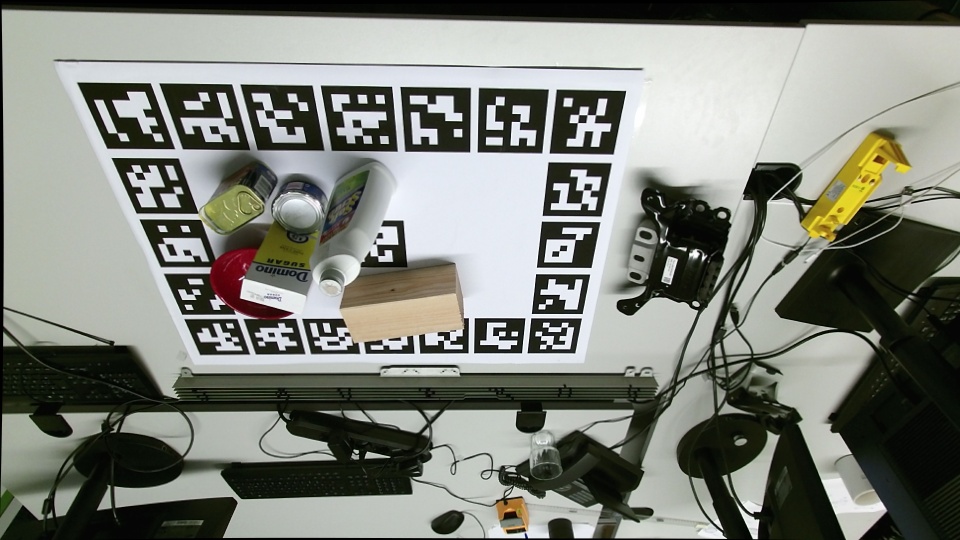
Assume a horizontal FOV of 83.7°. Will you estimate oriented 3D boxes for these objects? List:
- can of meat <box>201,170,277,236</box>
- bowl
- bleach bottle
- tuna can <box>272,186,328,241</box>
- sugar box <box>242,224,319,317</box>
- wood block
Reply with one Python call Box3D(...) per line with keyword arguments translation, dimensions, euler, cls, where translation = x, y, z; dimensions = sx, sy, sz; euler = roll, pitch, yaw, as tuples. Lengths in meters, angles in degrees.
Box3D(translation=(-0.374, -0.102, 0.839), dimensions=(0.102, 0.083, 0.058), euler=(-24, 127, 17), cls="can of meat")
Box3D(translation=(-0.396, 0.027, 0.949), dimensions=(0.162, 0.055, 0.162), euler=(-4, 128, -5), cls="bowl")
Box3D(translation=(-0.185, -0.049, 0.780), dimensions=(0.103, 0.249, 0.068), euler=(-21, 126, 12), cls="bleach bottle")
Box3D(translation=(-0.290, -0.092, 0.873), dimensions=(0.086, 0.033, 0.086), euler=(-2, 124, -2), cls="tuna can")
Box3D(translation=(-0.312, -0.001, 0.853), dimensions=(0.093, 0.175, 0.045), euler=(15, 123, -18), cls="sugar box")
Box3D(translation=(-0.137, 0.072, 0.977), dimensions=(0.207, 0.089, 0.091), euler=(-7, 123, 4), cls="wood block")
